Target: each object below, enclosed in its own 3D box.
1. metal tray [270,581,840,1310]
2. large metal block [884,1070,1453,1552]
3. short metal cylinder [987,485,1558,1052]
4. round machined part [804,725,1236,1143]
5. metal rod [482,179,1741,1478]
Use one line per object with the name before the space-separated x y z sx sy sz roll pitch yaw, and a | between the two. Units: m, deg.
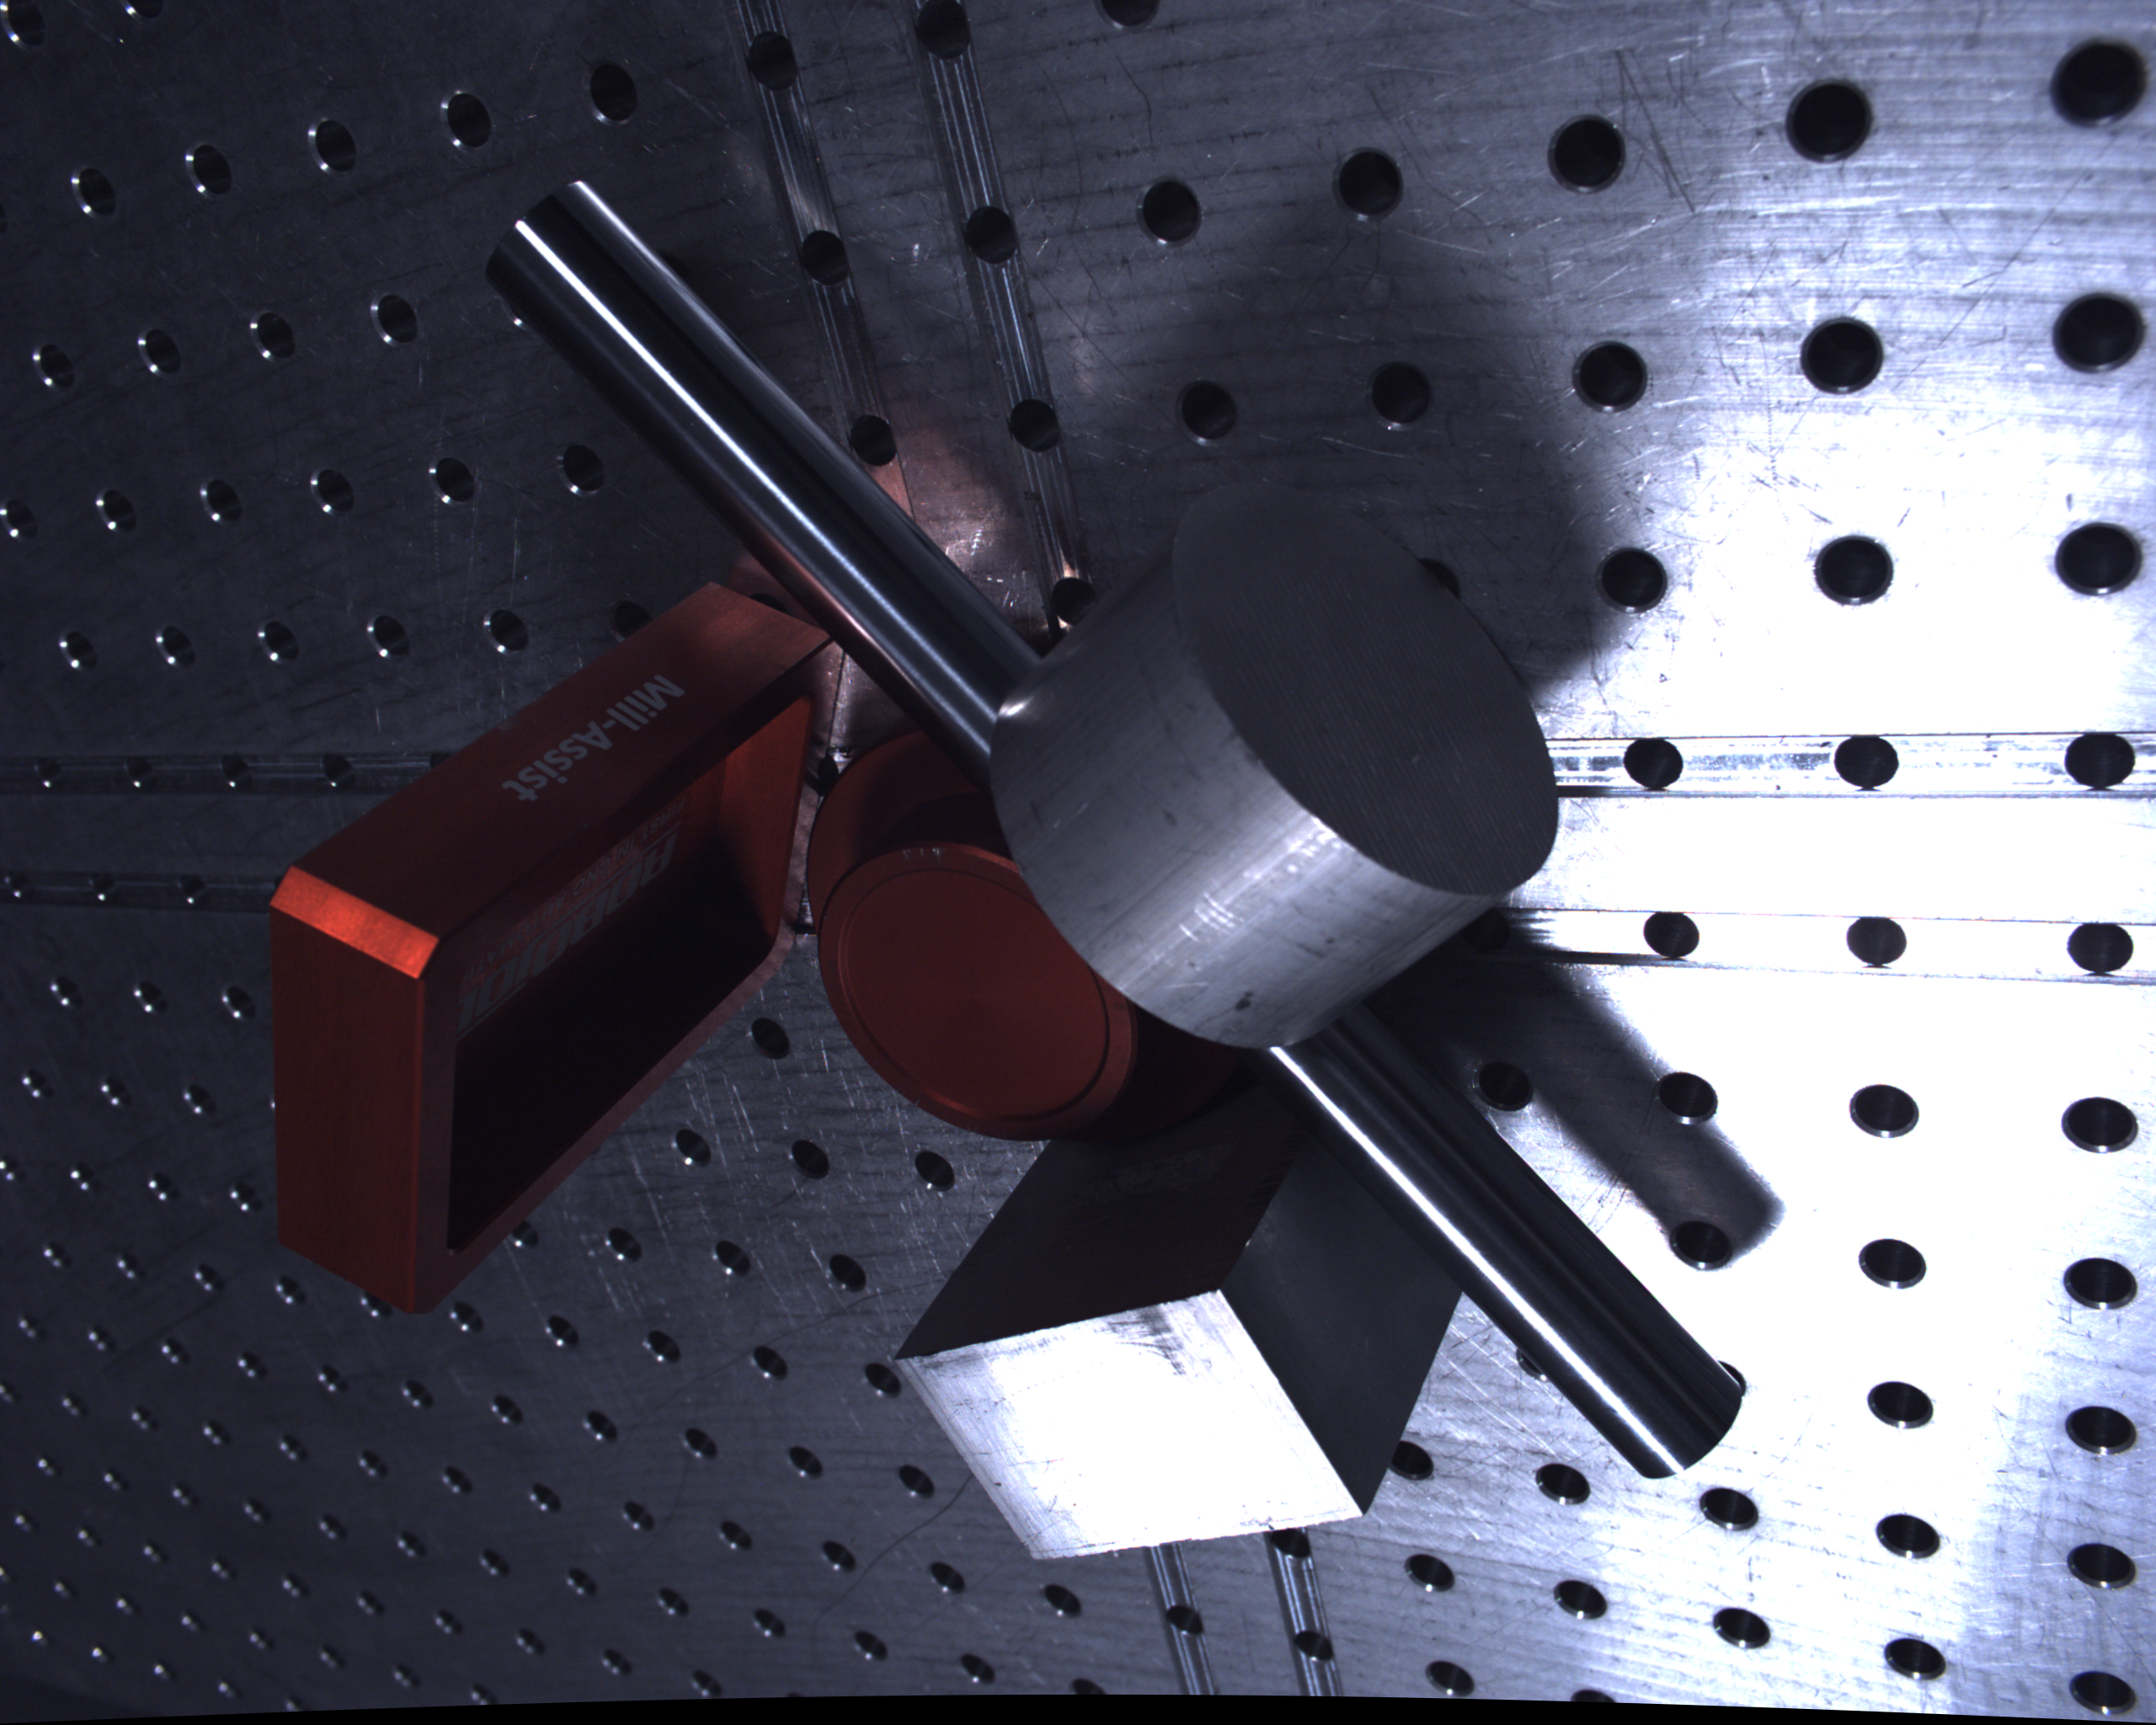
metal tray | -0.096 0.012 0.400 0.030 0.131 0.089 25 127 13
large metal block | 0.023 0.086 0.415 0.080 0.080 0.050 -21 108 35
short metal cylinder | 0.032 -0.015 0.347 0.080 0.080 0.050 45 129 -3
round machined part | -0.012 0.017 0.415 0.098 0.042 0.097 13 124 20
metal rod | 0.009 -0.003 0.376 0.300 0.025 0.025 46 129 -5
